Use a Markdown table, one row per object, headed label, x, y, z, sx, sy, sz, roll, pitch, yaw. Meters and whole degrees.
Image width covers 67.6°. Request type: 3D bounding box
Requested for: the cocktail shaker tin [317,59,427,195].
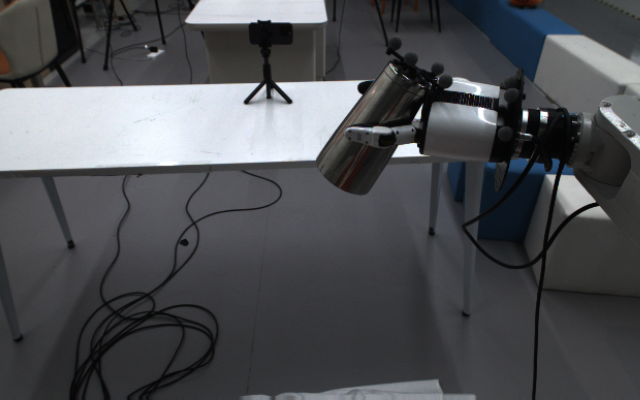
| label | x | y | z | sx | sy | sz | roll | pitch | yaw |
| --- | --- | --- | --- | --- | --- | --- | --- | --- | --- |
| cocktail shaker tin | 0.076 | -0.104 | 0.662 | 0.093 | 0.170 | 0.093 | 26 | 32 | -17 |
